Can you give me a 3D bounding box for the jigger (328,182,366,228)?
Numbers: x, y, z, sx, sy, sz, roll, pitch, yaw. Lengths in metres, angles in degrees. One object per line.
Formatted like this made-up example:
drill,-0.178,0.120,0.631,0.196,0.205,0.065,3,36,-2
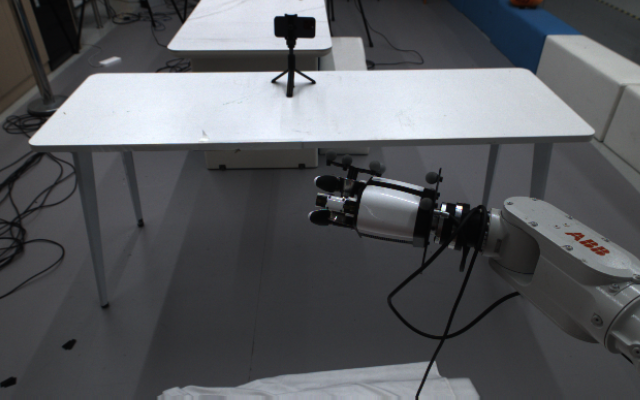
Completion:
jigger,0.043,0.001,0.743,0.043,0.071,0.043,14,1,0
